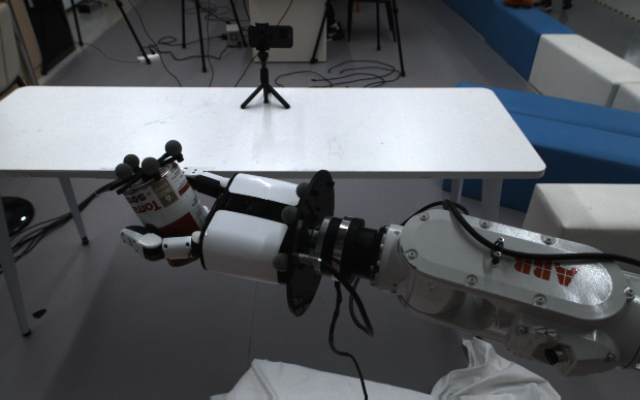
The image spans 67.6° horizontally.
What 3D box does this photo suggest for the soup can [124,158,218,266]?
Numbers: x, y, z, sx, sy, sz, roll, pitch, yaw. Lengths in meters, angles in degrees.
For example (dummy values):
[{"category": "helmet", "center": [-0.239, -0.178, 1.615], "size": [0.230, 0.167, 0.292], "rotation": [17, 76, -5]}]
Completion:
[{"category": "soup can", "center": [-0.164, 0.016, 0.549], "size": [0.067, 0.101, 0.067], "rotation": [-22, 24, 10]}]
